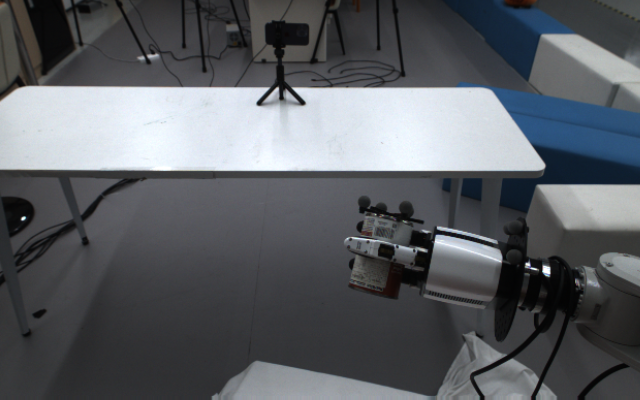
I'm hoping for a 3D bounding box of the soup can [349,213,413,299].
[{"bbox_3d":[0.084,0.074,0.644,0.067,0.101,0.067,13,-6,1],"label":"soup can"}]
